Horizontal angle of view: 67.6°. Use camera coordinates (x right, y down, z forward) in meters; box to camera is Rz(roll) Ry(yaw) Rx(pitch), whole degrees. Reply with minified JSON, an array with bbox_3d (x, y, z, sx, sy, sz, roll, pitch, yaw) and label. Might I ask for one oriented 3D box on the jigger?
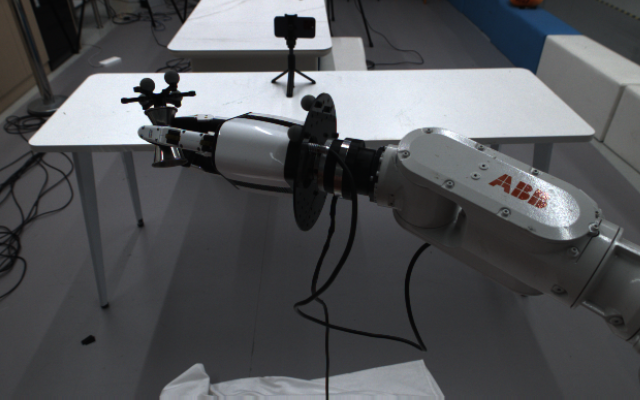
[{"bbox_3d":[-0.190,-0.077,0.602,0.043,0.071,0.043,-11,-3,-1],"label":"jigger"}]
